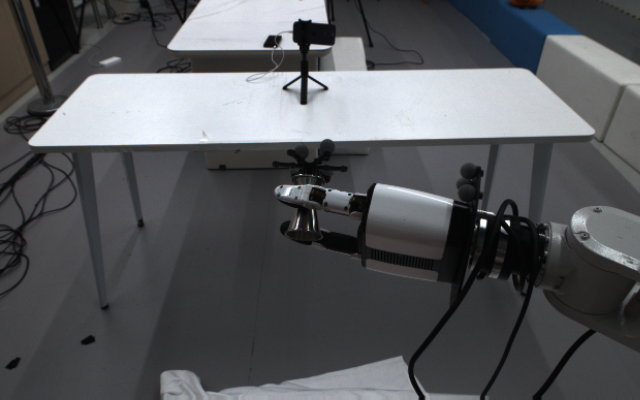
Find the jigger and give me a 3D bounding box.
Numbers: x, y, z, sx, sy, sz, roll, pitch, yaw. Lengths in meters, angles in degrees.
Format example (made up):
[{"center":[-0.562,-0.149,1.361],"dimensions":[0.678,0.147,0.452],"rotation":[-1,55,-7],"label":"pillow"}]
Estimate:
[{"center":[-0.017,0.008,0.558],"dimensions":[0.043,0.043,0.071],"rotation":[4,71,3],"label":"jigger"}]
